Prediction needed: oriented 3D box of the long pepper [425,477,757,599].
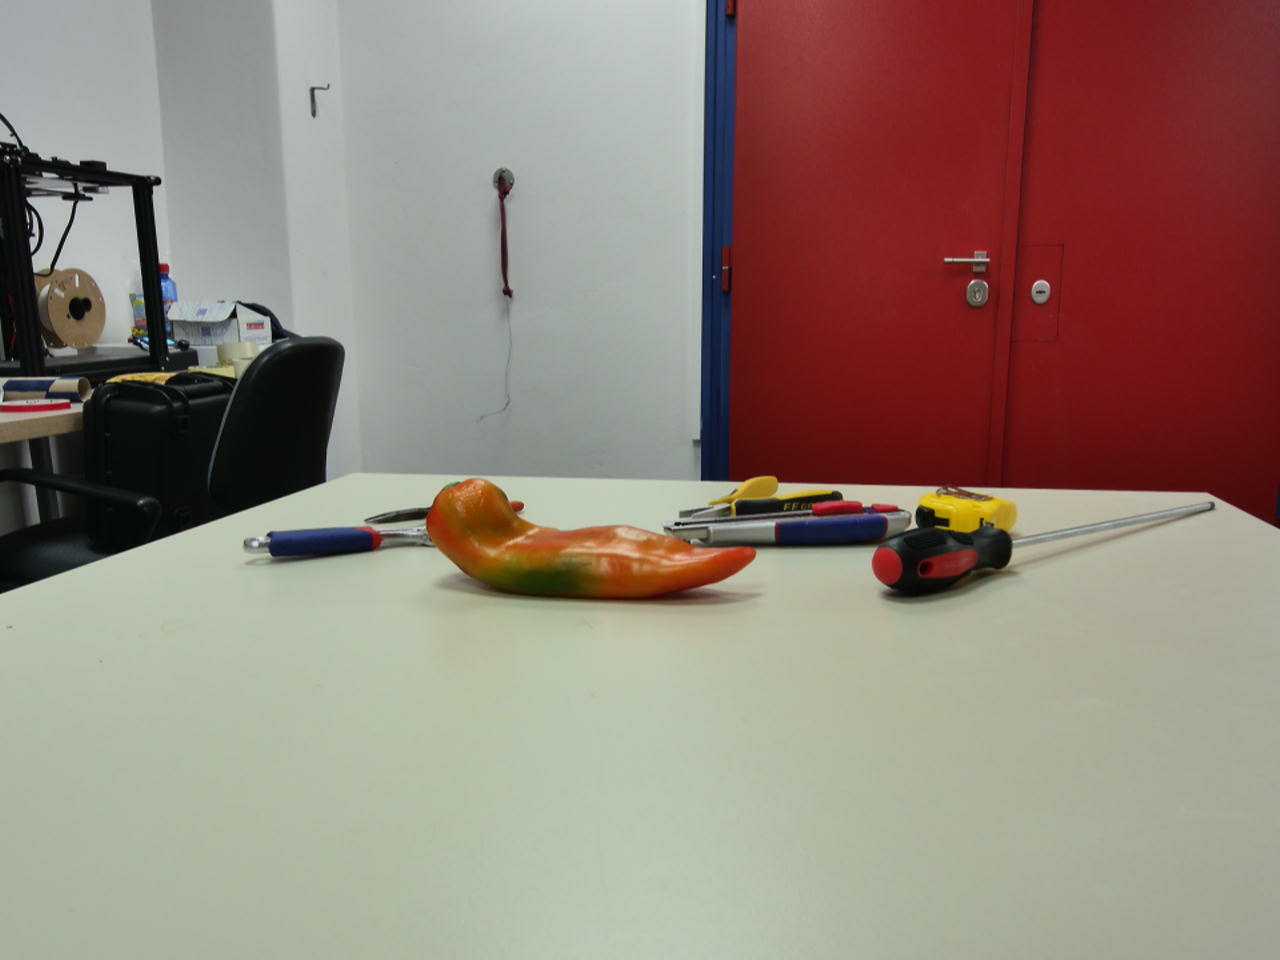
[{"bbox_3d":[-0.032,0.034,0.588,0.199,0.065,0.066,2,8,16],"label":"long pepper"}]
